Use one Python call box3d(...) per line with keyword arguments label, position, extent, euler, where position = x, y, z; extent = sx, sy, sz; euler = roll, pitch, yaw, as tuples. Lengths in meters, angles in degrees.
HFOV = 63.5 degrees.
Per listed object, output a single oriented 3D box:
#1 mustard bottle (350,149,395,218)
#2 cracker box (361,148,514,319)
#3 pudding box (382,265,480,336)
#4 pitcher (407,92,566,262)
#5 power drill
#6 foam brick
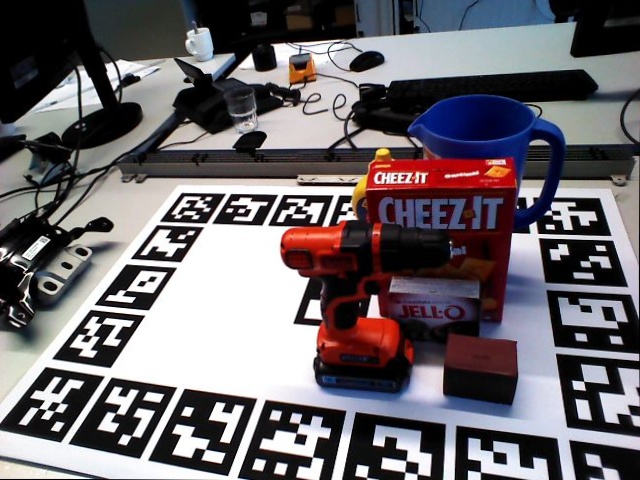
box3d(label="mustard bottle", position=(0.093, -0.062, 0.740), extent=(0.097, 0.192, 0.058), euler=(12, 45, 27))
box3d(label="cracker box", position=(0.148, 0.002, 0.637), extent=(0.165, 0.214, 0.071), euler=(-1, 38, 18))
box3d(label="pudding box", position=(0.138, 0.074, 0.637), extent=(0.114, 0.090, 0.038), euler=(1, 39, 20))
box3d(label="pitcher", position=(0.218, -0.066, 0.692), extent=(0.190, 0.243, 0.132), euler=(5, 42, 24))
box3d(label="power drill", position=(0.052, 0.057, 0.569), extent=(0.185, 0.187, 0.057), euler=(2, 37, 16))
box3d(label="foam brick", position=(0.182, 0.142, 0.594), extent=(0.078, 0.051, 0.052), euler=(4, 43, 19))
